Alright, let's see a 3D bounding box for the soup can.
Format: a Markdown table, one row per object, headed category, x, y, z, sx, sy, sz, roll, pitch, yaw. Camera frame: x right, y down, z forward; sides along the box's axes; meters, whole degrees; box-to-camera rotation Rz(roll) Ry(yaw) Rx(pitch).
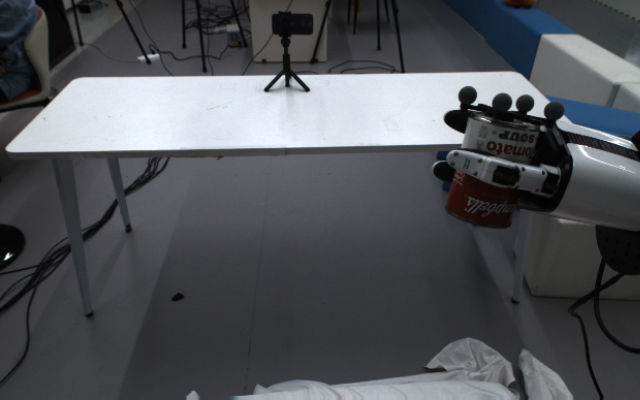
| category | x | y | z | sx | sy | sz | roll | pitch | yaw |
| --- | --- | --- | --- | --- | --- | --- | --- | --- | --- |
| soup can | 0.172 | -0.031 | 0.483 | 0.067 | 0.101 | 0.067 | 9 | 19 | -3 |
